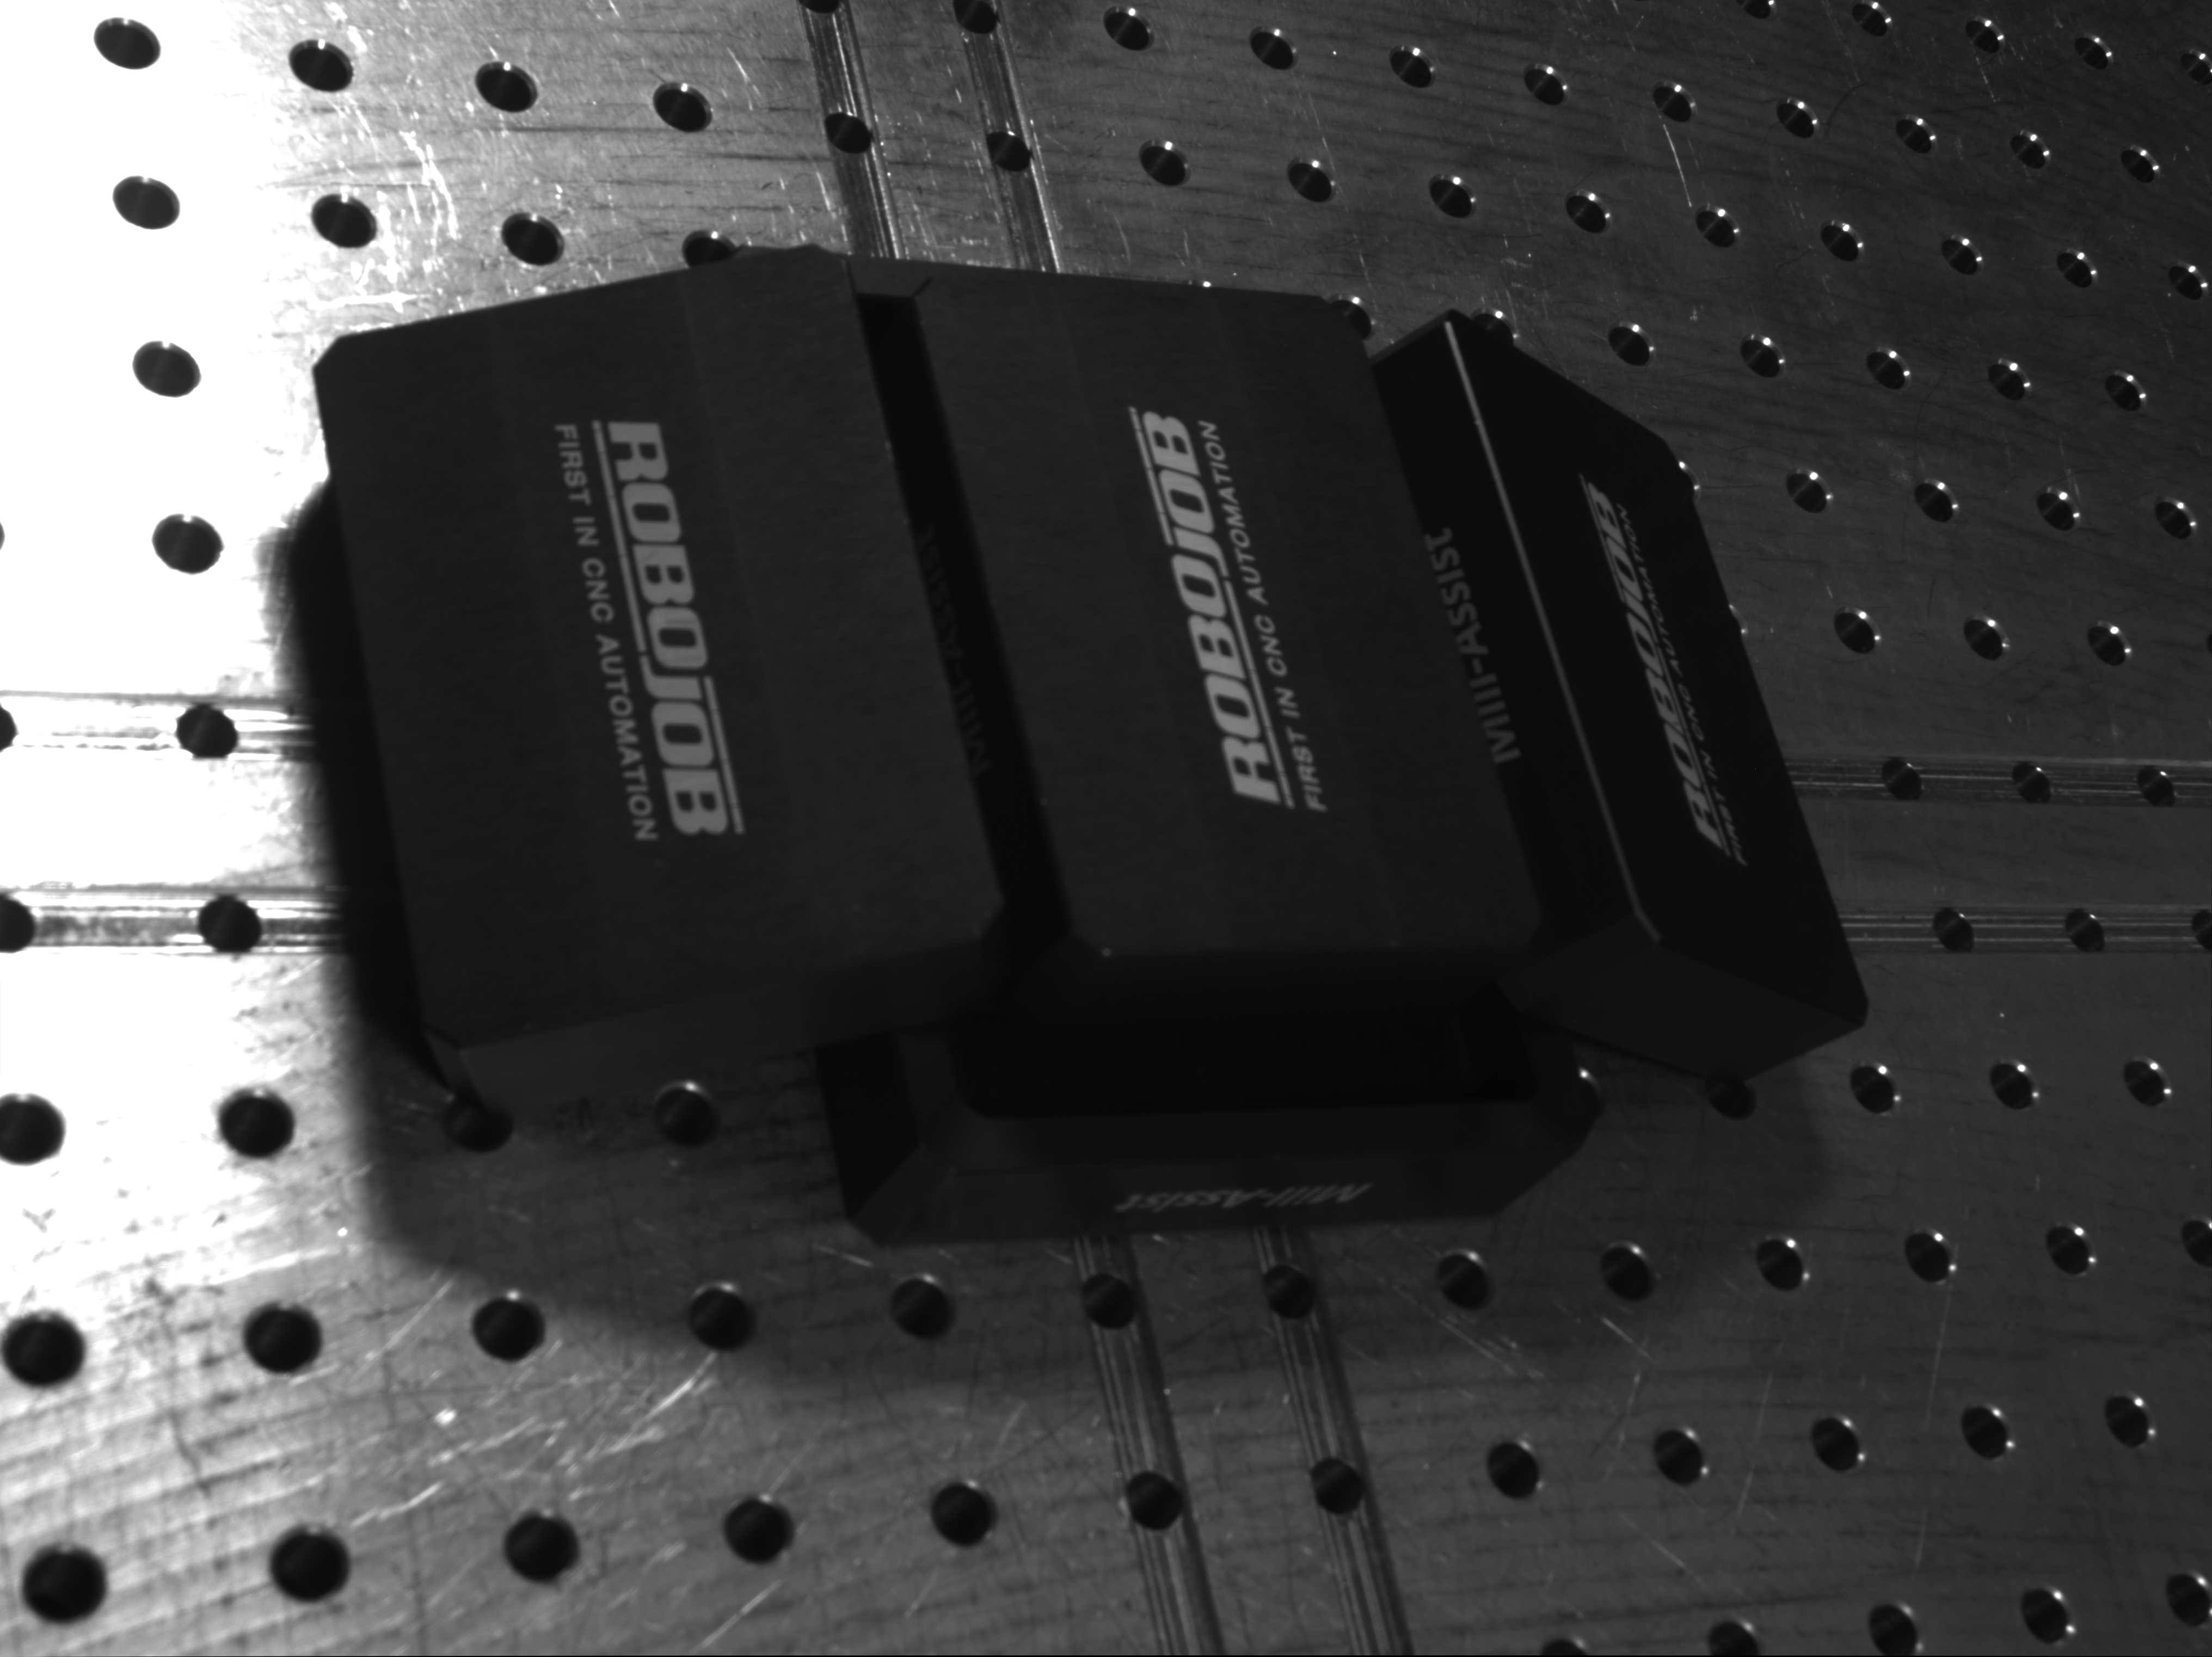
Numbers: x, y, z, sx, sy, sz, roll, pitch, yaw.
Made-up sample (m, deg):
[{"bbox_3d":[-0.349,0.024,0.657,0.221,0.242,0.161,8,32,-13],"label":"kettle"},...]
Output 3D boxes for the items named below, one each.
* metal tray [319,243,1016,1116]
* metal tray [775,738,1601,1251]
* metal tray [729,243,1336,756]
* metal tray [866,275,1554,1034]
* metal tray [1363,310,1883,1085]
[{"bbox_3d":[-0.072,-0.026,0.594,0.090,0.030,0.130,-12,66,-5],"label":"metal tray"},{"bbox_3d":[0.014,0.023,0.634,0.130,0.030,0.090,1,62,-28],"label":"metal tray"},{"bbox_3d":[-0.006,-0.057,0.671,0.130,0.030,0.090,1,62,-28],"label":"metal tray"},{"bbox_3d":[0.016,-0.031,0.628,0.090,0.030,0.130,0,62,-28],"label":"metal tray"},{"bbox_3d":[0.093,-0.023,0.679,0.090,0.030,0.130,20,49,-51],"label":"metal tray"}]
